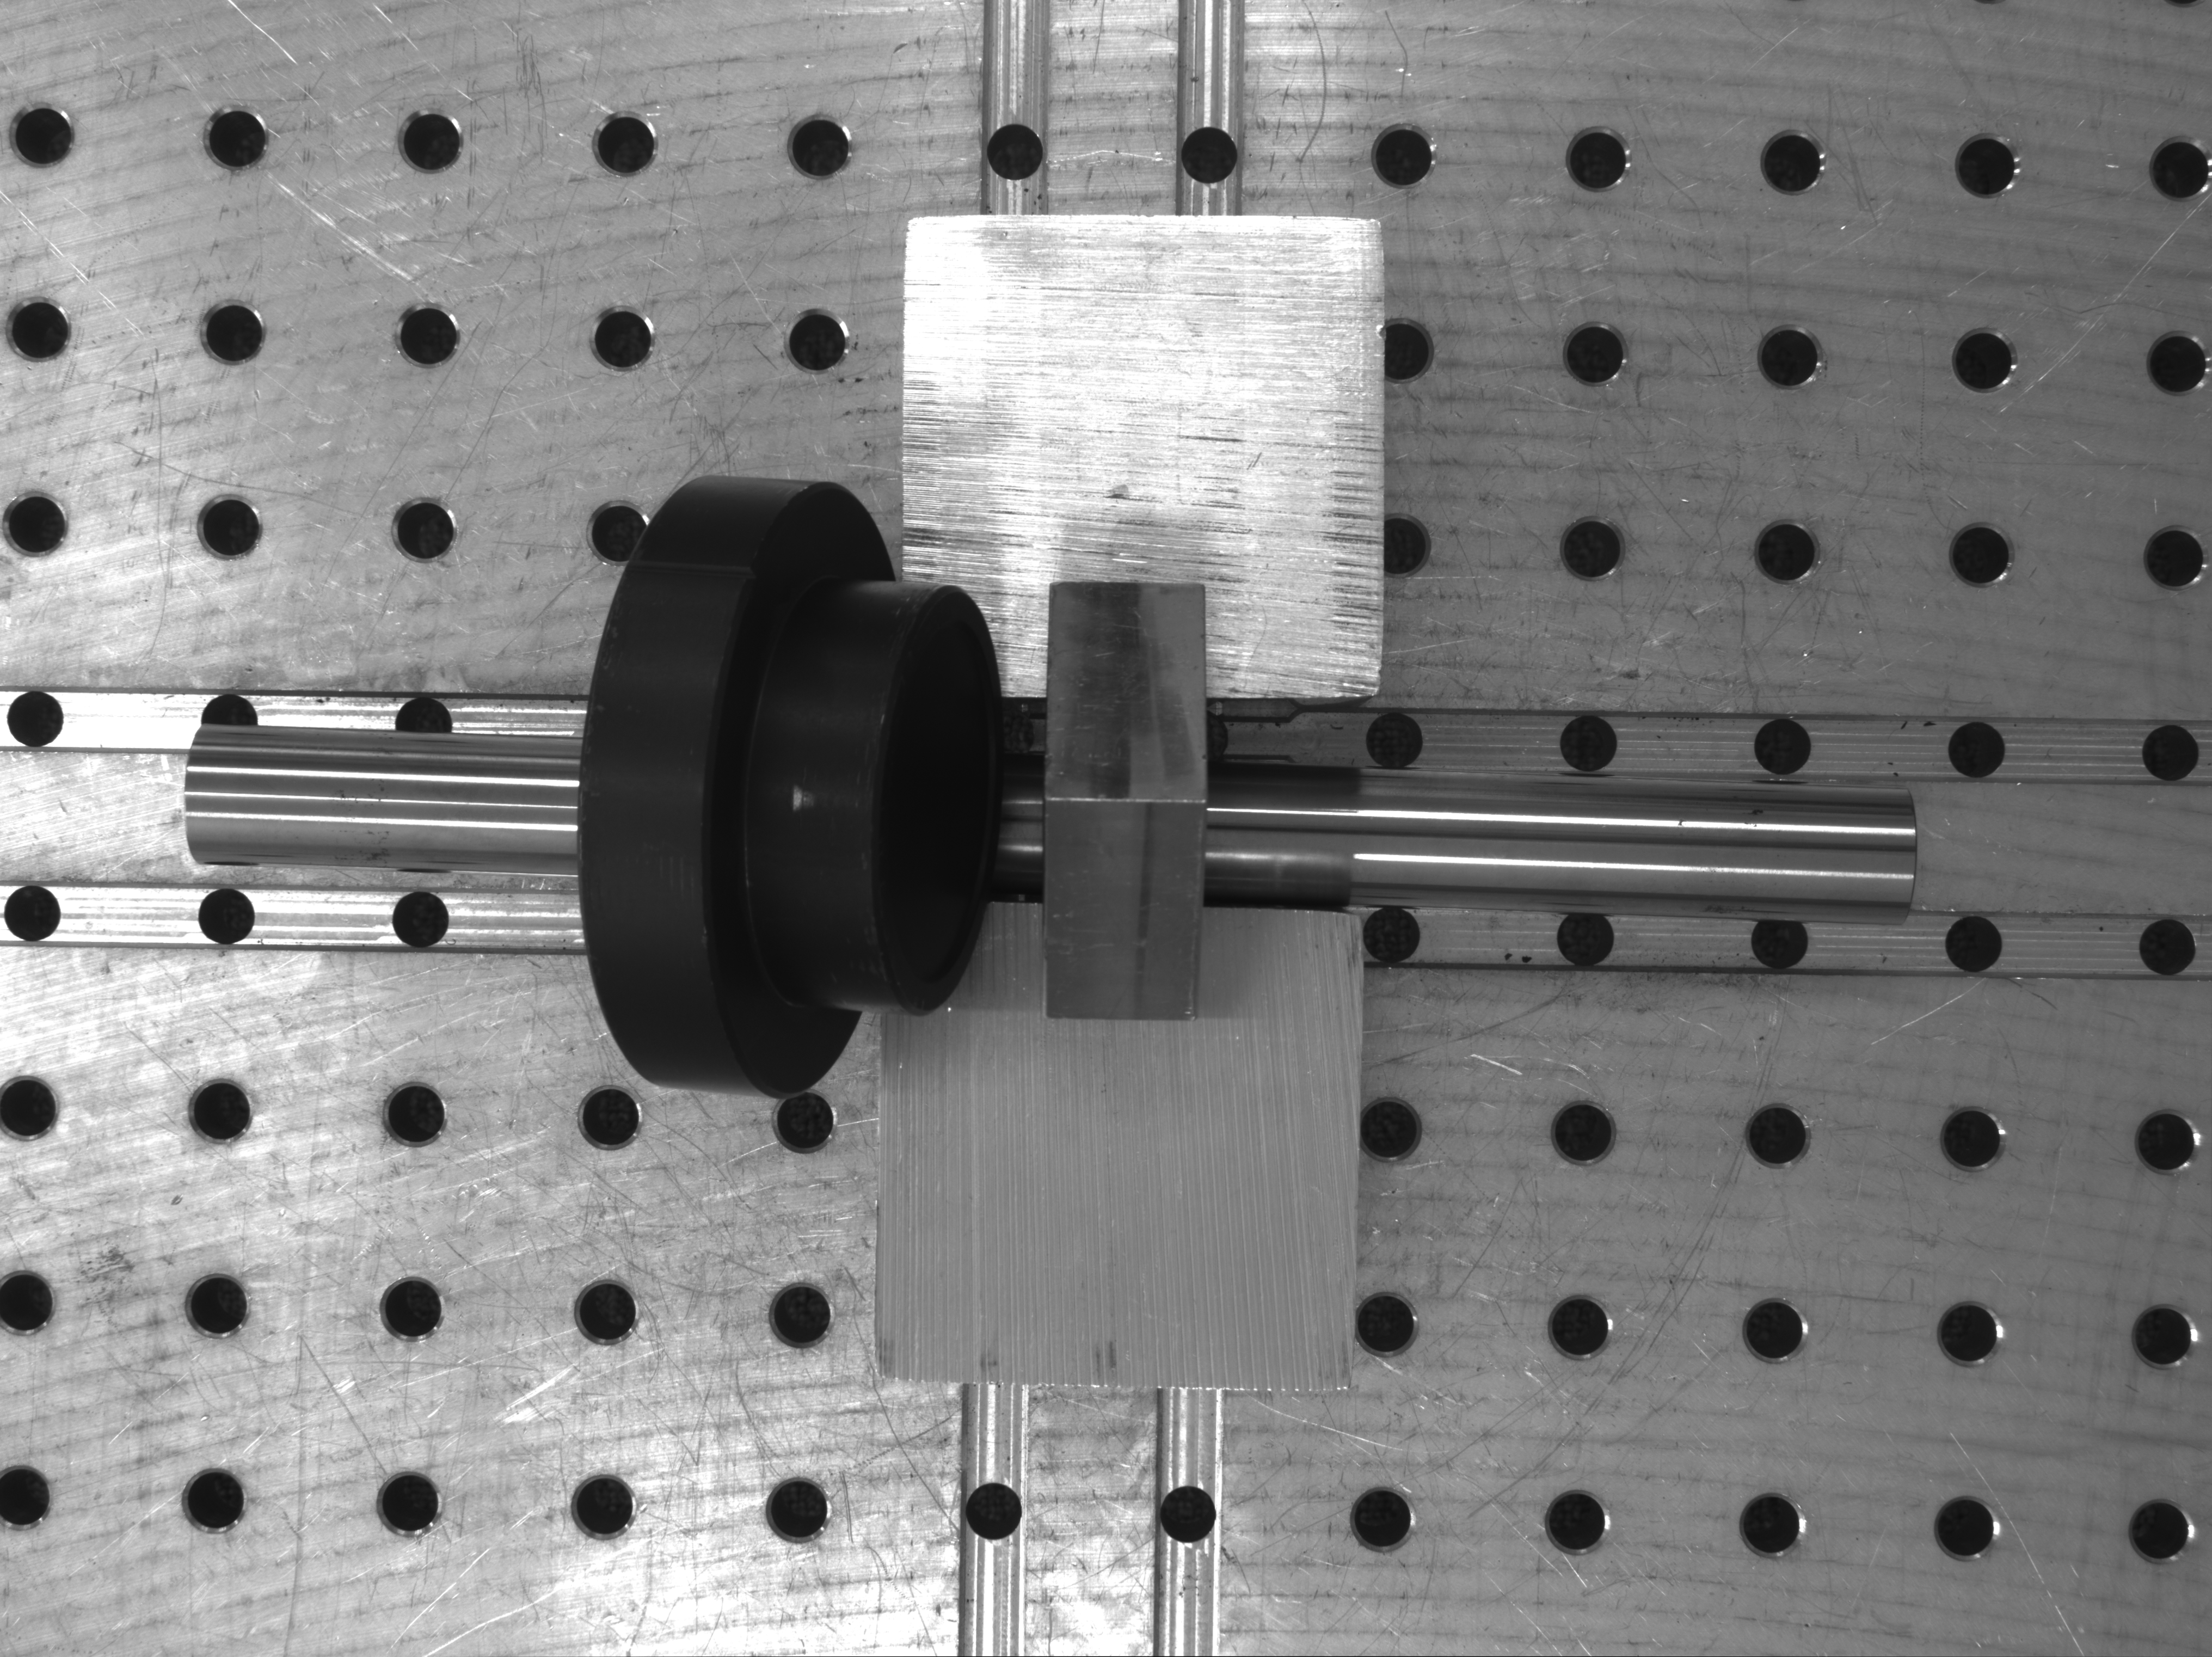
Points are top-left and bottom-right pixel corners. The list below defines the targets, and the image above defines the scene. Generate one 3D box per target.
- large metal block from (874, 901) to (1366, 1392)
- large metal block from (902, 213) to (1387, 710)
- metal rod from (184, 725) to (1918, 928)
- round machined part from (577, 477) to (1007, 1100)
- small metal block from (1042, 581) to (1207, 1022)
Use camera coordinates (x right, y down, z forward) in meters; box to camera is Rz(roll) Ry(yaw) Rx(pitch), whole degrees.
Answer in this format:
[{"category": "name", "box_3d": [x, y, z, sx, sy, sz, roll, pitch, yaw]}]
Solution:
[{"category": "large metal block", "box_3d": [0.002, 0.053, 0.636, 0.080, 0.050, 0.080, 1, 90, 0]}, {"category": "large metal block", "box_3d": [0.006, -0.062, 0.636, 0.080, 0.050, 0.080, 1, 90, 0]}, {"category": "metal rod", "box_3d": [-0.009, 0.000, 0.648, 0.300, 0.025, 0.025, 2, 90, 0]}, {"category": "round machined part", "box_3d": [-0.045, -0.006, 0.583, 0.042, 0.098, 0.098, 4, 90, 15]}, {"category": "small metal block", "box_3d": [0.003, -0.004, 0.592, 0.025, 0.050, 0.050, 1, 46, 0]}]
